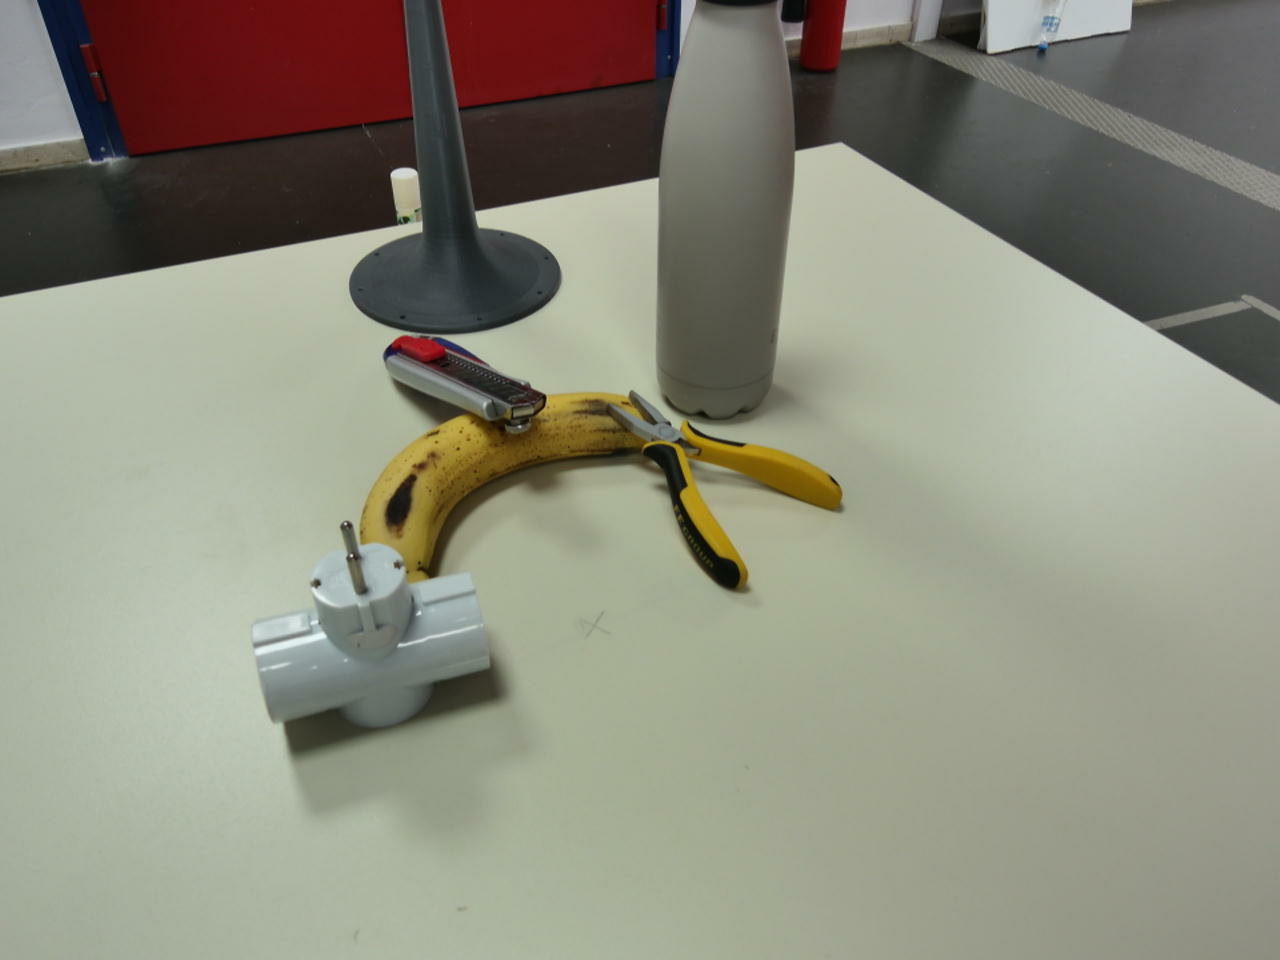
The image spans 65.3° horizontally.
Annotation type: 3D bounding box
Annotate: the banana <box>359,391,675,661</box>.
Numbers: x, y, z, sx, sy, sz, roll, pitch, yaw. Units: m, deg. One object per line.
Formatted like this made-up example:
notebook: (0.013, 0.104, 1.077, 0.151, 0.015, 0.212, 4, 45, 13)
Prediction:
banana: (-0.071, -0.001, 0.519, 0.097, 0.038, 0.186, 25, 44, 28)
